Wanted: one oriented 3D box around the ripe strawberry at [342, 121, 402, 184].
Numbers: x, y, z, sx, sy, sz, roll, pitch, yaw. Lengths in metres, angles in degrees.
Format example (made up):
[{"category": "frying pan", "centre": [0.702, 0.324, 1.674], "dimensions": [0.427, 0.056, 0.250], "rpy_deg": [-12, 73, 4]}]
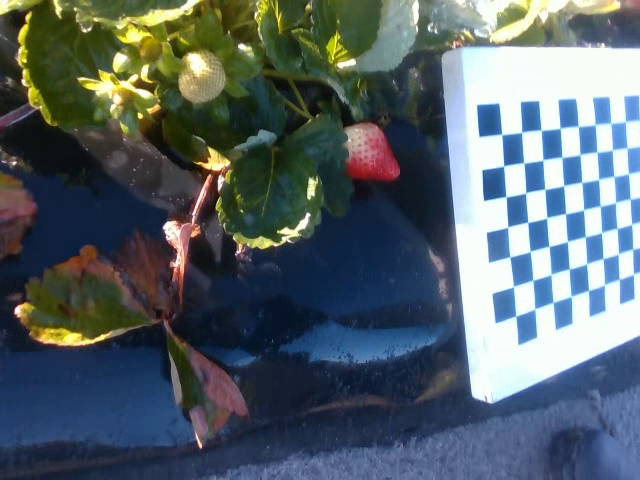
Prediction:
[{"category": "ripe strawberry", "centre": [0.041, -0.060, 0.445], "dimensions": [0.065, 0.040, 0.040], "rpy_deg": [36, -19, -28]}]
